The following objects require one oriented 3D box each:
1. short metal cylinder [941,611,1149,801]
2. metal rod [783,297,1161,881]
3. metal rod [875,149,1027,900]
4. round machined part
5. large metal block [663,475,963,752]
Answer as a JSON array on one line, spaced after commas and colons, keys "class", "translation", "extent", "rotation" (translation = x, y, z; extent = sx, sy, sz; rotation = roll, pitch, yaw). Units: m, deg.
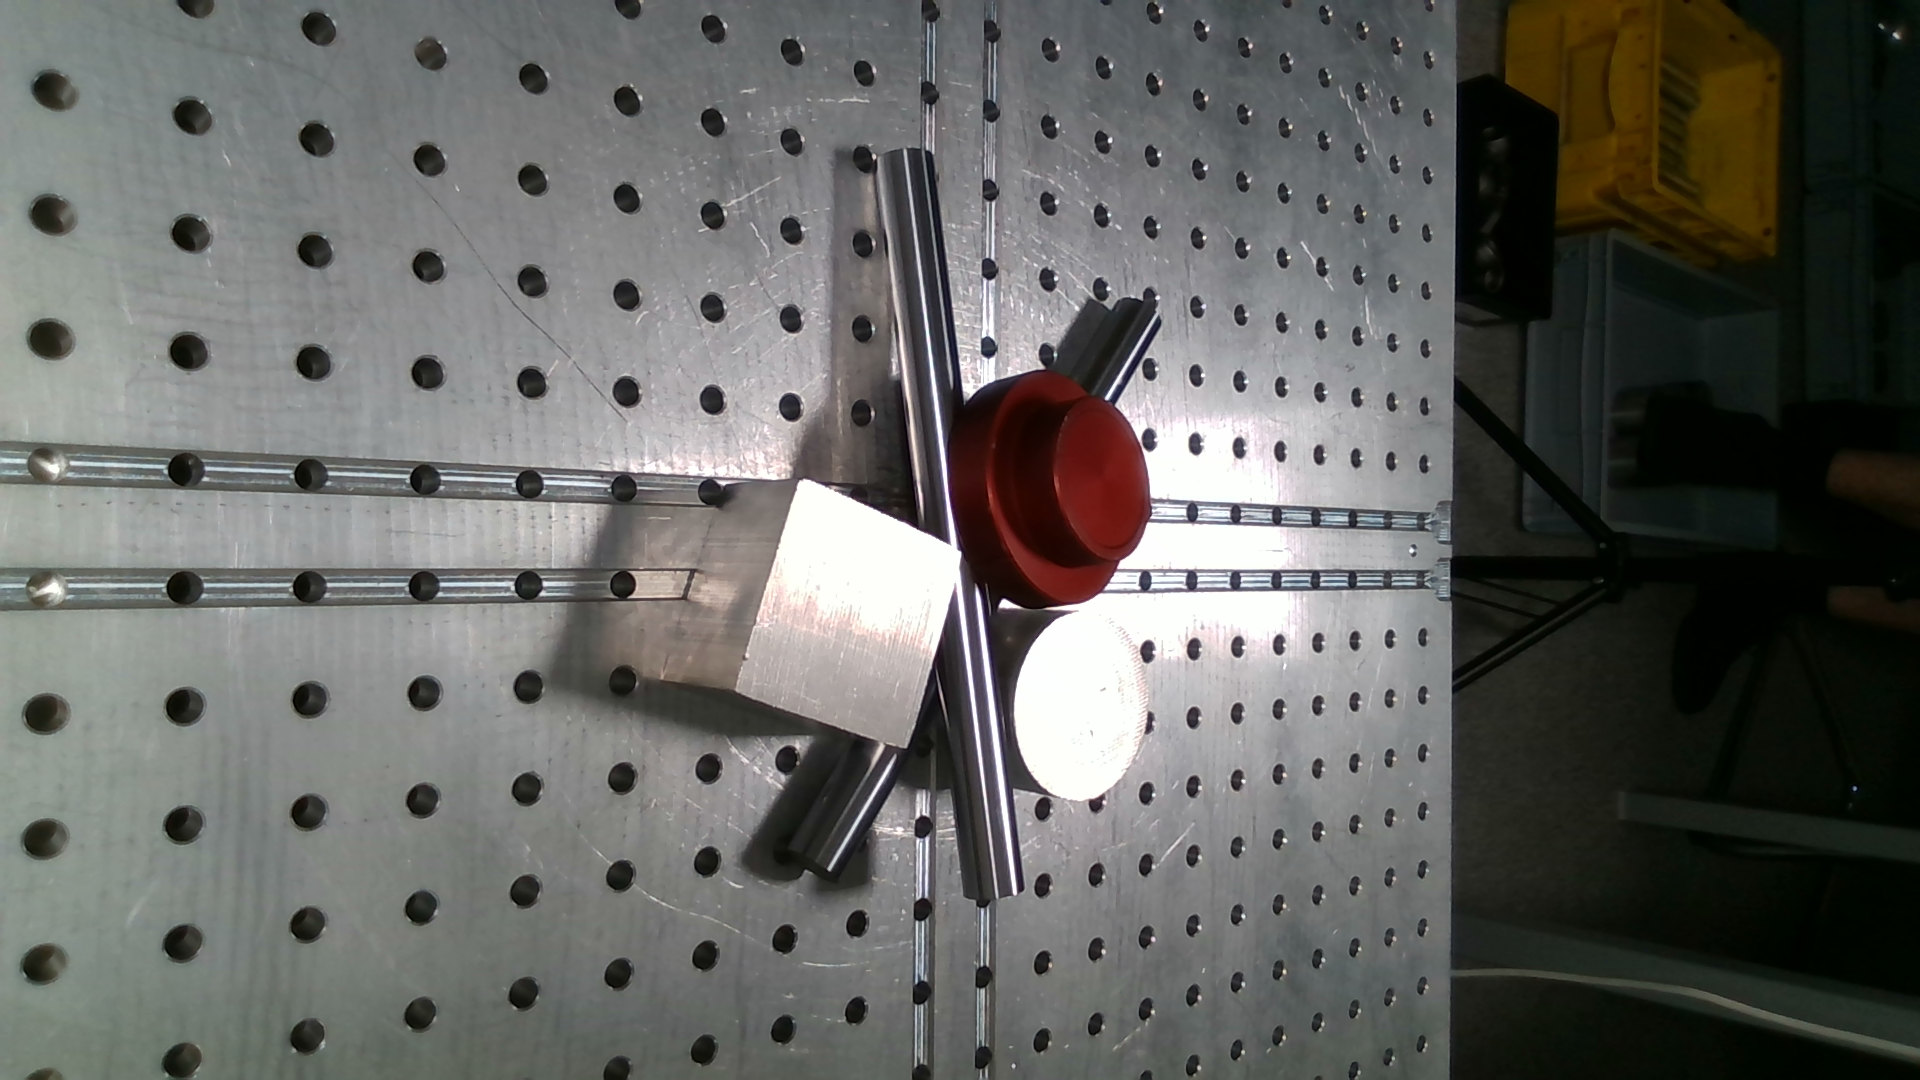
[{"class": "short metal cylinder", "translation": [0.037, 0.070, 0.600], "extent": [0.080, 0.050, 0.080], "rotation": [0, 90, -40]}, {"class": "metal rod", "translation": [0.013, 0.010, 0.598], "extent": [0.025, 0.025, 0.299], "rotation": [46, 62, -30]}, {"class": "metal rod", "translation": [-0.005, -0.008, 0.558], "extent": [0.025, 0.025, 0.300], "rotation": [-4, 86, -40]}, {"class": "round machined part", "translation": [0.041, -0.022, 0.566], "extent": [0.098, 0.042, 0.098], "rotation": [10, 77, -48]}, {"class": "large metal block", "translation": [-0.054, 0.028, 0.521], "extent": [0.080, 0.050, 0.080], "rotation": [25, 74, -37]}]
